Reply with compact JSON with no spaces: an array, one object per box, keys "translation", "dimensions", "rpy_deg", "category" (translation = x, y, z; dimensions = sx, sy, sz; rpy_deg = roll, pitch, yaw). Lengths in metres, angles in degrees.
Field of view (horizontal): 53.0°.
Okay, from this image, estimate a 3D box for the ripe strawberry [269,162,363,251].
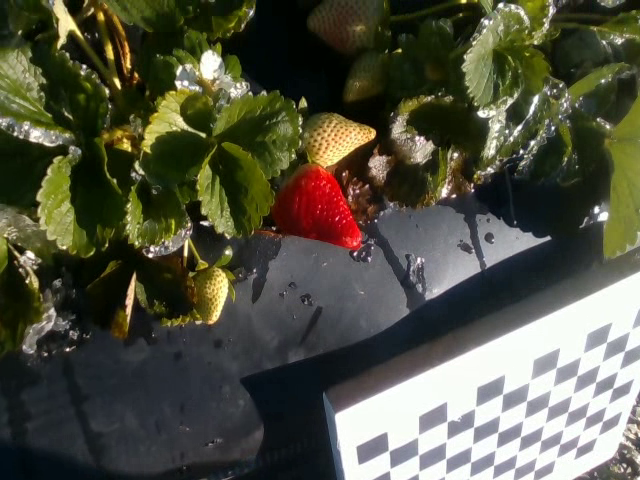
[{"translation":[0.001,-0.012,0.303],"dimensions":[0.053,0.040,0.042],"rpy_deg":[41,6,20],"category":"ripe strawberry"}]
